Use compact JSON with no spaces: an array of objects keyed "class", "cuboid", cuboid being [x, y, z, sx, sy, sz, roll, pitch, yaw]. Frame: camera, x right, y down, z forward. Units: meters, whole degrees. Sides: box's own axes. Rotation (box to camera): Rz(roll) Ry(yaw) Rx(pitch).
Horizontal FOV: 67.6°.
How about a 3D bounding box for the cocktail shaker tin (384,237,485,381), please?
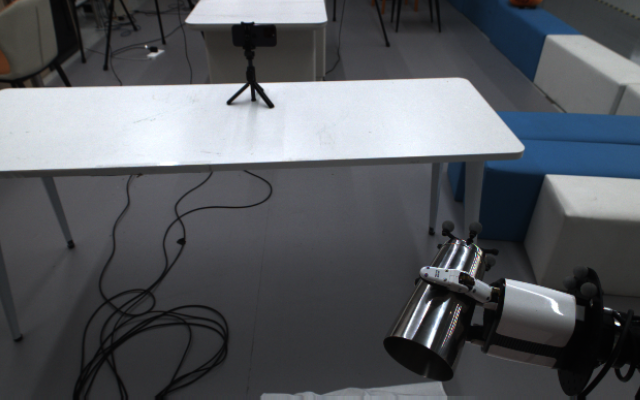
[{"class":"cocktail shaker tin","cuboid":[0.161,0.130,0.631,0.093,0.093,0.170,19,55,23]}]
